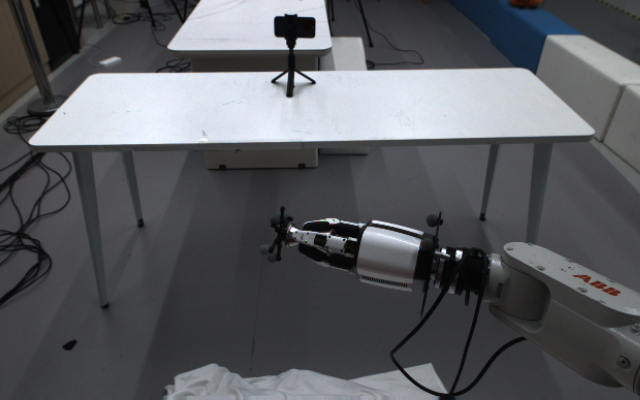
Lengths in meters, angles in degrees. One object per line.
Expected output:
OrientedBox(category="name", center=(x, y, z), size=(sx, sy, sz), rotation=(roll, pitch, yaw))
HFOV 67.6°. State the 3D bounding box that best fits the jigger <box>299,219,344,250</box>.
OrientedBox(category="jigger", center=(-0.008, 0.056, 0.751), size=(0.071, 0.043, 0.043), rotation=(7, 35, 16))
